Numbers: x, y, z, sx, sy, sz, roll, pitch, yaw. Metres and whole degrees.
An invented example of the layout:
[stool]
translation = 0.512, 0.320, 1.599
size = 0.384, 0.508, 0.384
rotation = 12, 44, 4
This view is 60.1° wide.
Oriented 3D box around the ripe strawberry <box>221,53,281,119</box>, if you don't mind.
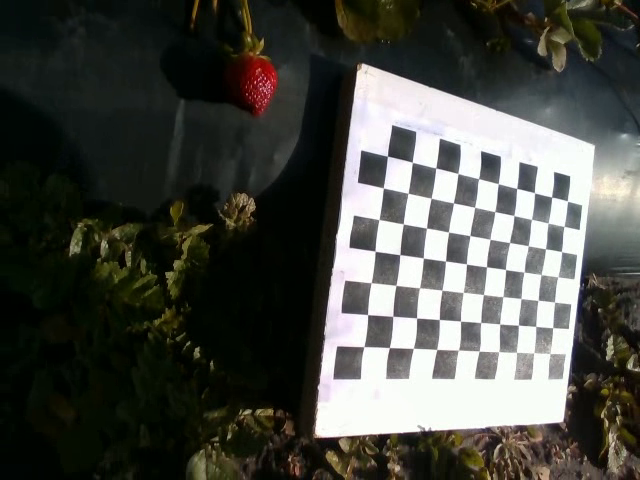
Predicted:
[ripe strawberry]
translation = -0.044, -0.094, 0.342
size = 0.040, 0.044, 0.036
rotation = -14, -4, -28
